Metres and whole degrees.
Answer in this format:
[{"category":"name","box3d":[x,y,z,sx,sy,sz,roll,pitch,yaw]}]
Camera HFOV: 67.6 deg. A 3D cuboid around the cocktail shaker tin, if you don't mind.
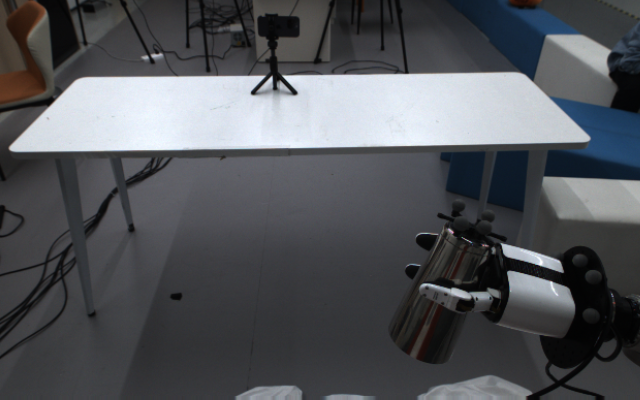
[{"category":"cocktail shaker tin","box3d":[0.164,0.115,0.635,0.093,0.170,0.093,16,21,-6]}]
